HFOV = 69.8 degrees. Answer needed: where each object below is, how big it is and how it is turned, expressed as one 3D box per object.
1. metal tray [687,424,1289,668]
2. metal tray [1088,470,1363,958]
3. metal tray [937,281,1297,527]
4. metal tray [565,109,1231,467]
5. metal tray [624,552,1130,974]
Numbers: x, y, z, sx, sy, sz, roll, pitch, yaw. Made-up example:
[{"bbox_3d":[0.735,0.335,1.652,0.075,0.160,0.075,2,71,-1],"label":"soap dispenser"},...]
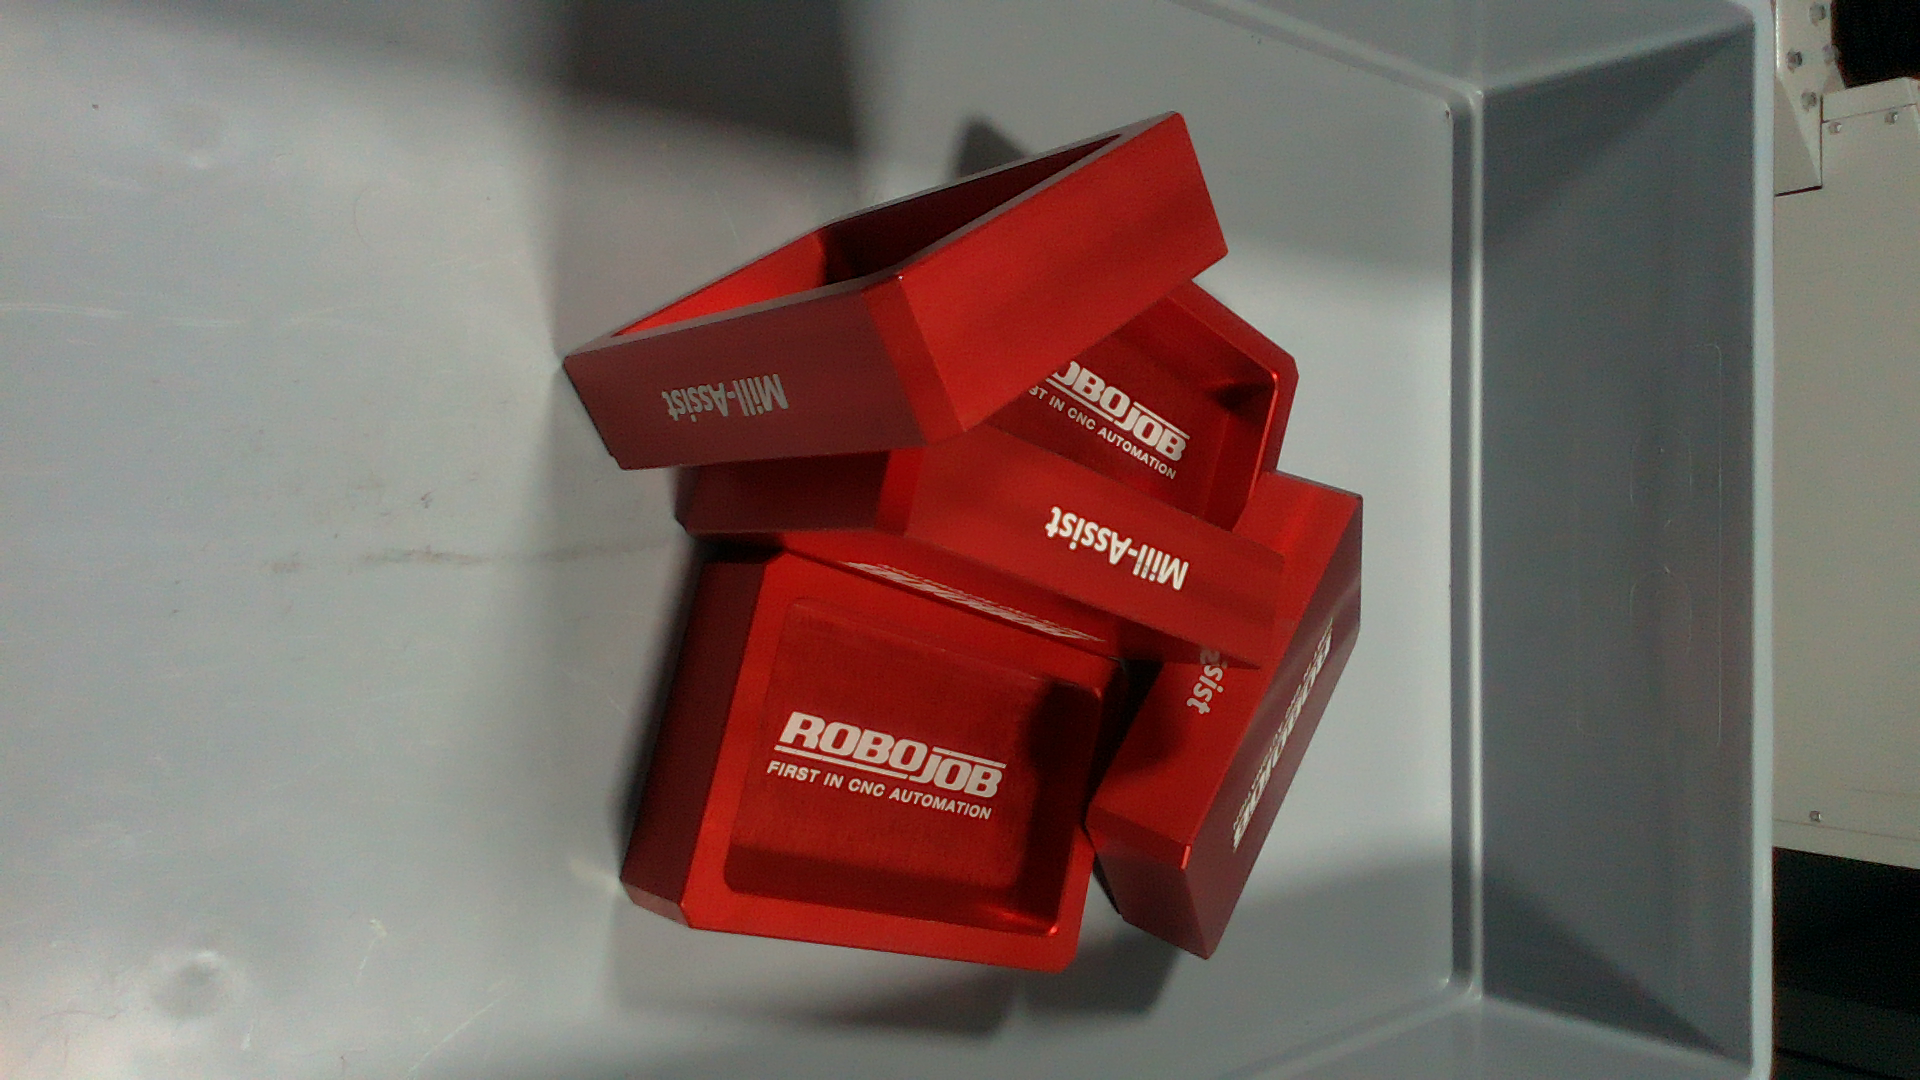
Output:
[{"bbox_3d":[0.009,0.002,0.351,0.130,0.090,0.030,20,77,-38],"label":"metal tray"},{"bbox_3d":[0.088,0.054,0.432,0.130,0.030,0.090,-58,151,-23],"label":"metal tray"},{"bbox_3d":[0.046,-0.041,0.422,0.130,0.030,0.090,27,73,-37],"label":"metal tray"},{"bbox_3d":[-0.018,-0.052,0.303,0.090,0.129,0.030,-37,113,-33],"label":"metal tray"},{"bbox_3d":[-0.016,0.062,0.369,0.130,0.030,0.090,20,77,-38],"label":"metal tray"}]
